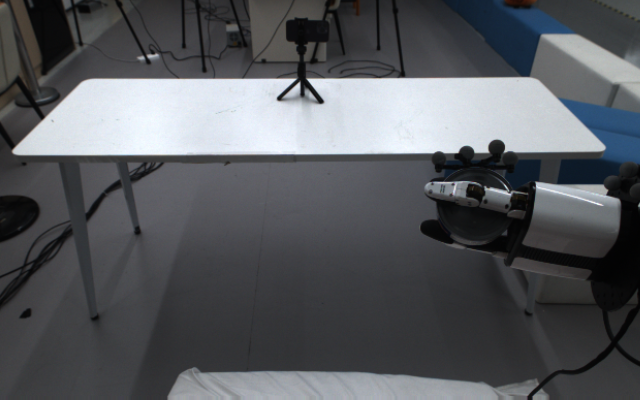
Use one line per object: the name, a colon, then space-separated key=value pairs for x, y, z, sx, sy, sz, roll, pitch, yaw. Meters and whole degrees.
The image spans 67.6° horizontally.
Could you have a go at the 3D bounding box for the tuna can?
tuna can: x=0.178 y=0.006 z=0.554 sx=0.085 sy=0.034 sz=0.085 roll=-3 pitch=73 yaw=11
